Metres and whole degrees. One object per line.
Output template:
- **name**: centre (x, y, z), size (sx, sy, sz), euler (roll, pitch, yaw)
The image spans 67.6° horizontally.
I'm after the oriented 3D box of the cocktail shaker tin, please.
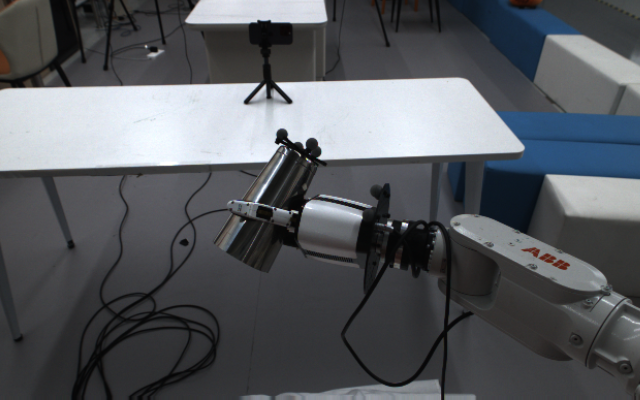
- **cocktail shaker tin**: centre (-0.075, 0.009, 0.708), size (0.093, 0.093, 0.170), euler (26, 83, 30)
